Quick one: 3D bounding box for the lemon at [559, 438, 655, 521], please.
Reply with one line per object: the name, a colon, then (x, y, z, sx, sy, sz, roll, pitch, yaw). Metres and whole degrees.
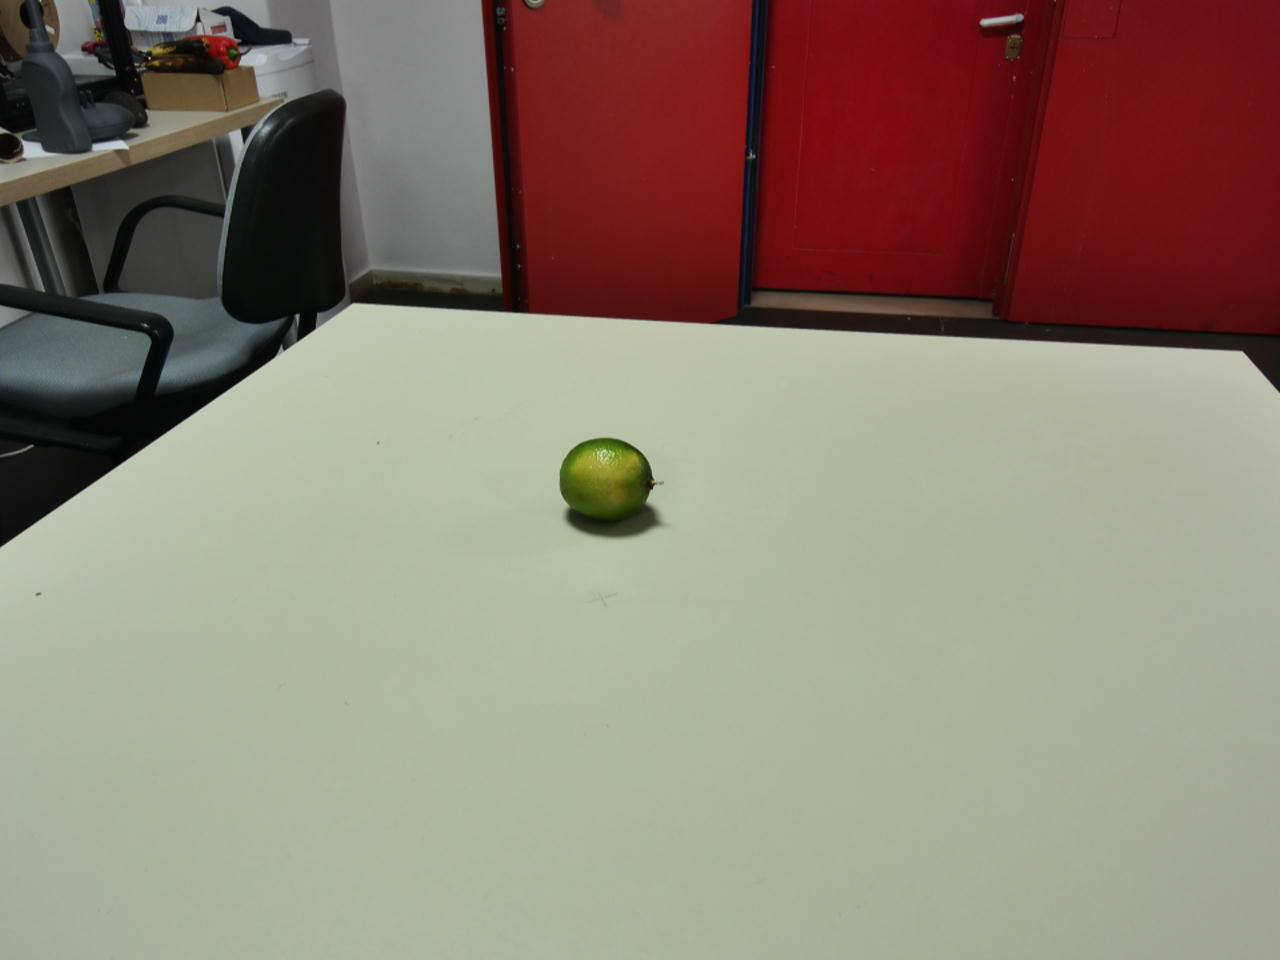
lemon: (-0.021, 0.000, 0.612, 0.054, 0.050, 0.055, -14, 29, -25)
